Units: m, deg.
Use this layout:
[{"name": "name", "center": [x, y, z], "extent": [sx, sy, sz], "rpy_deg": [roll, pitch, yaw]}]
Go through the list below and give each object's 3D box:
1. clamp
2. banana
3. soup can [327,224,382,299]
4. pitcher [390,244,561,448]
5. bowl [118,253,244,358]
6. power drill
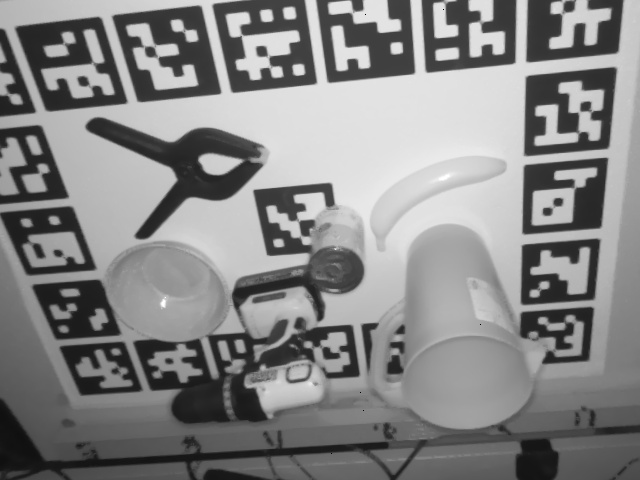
[{"name": "clamp", "center": [-0.135, -0.067, 0.830], "extent": [0.202, 0.037, 0.164], "rpy_deg": [-6, 115, 6]}, {"name": "banana", "center": [0.163, -0.032, 0.848], "extent": [0.195, 0.039, 0.074], "rpy_deg": [-27, 123, 18]}, {"name": "soup can", "center": [0.044, 0.036, 0.852], "extent": [0.068, 0.103, 0.067], "rpy_deg": [0, 128, 1]}, {"name": "pitcher", "center": [0.167, 0.116, 0.811], "extent": [0.187, 0.244, 0.133], "rpy_deg": [-26, 118, 16]}, {"name": "bowl", "center": [-0.176, 0.075, 0.907], "extent": [0.162, 0.055, 0.160], "rpy_deg": [0, 118, 2]}, {"name": "power drill", "center": [-0.066, 0.159, 0.853], "extent": [0.184, 0.188, 0.057], "rpy_deg": [-8, 118, 8]}]
